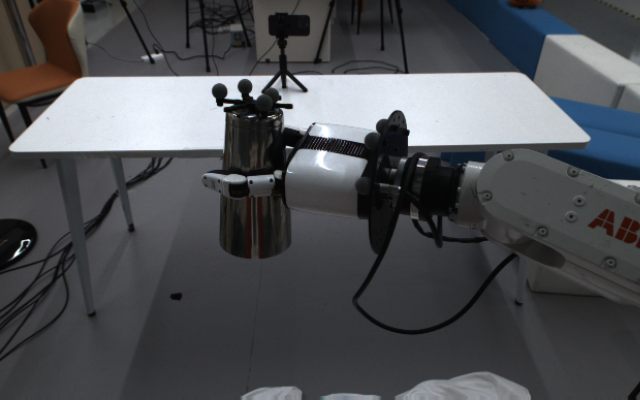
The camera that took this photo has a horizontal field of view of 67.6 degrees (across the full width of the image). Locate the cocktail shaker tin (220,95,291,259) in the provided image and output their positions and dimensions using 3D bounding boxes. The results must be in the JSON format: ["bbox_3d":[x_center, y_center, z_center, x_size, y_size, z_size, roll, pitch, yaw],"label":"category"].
[{"bbox_3d":[-0.077,-0.025,0.586,0.093,0.170,0.093,2,26,-1],"label":"cocktail shaker tin"}]
